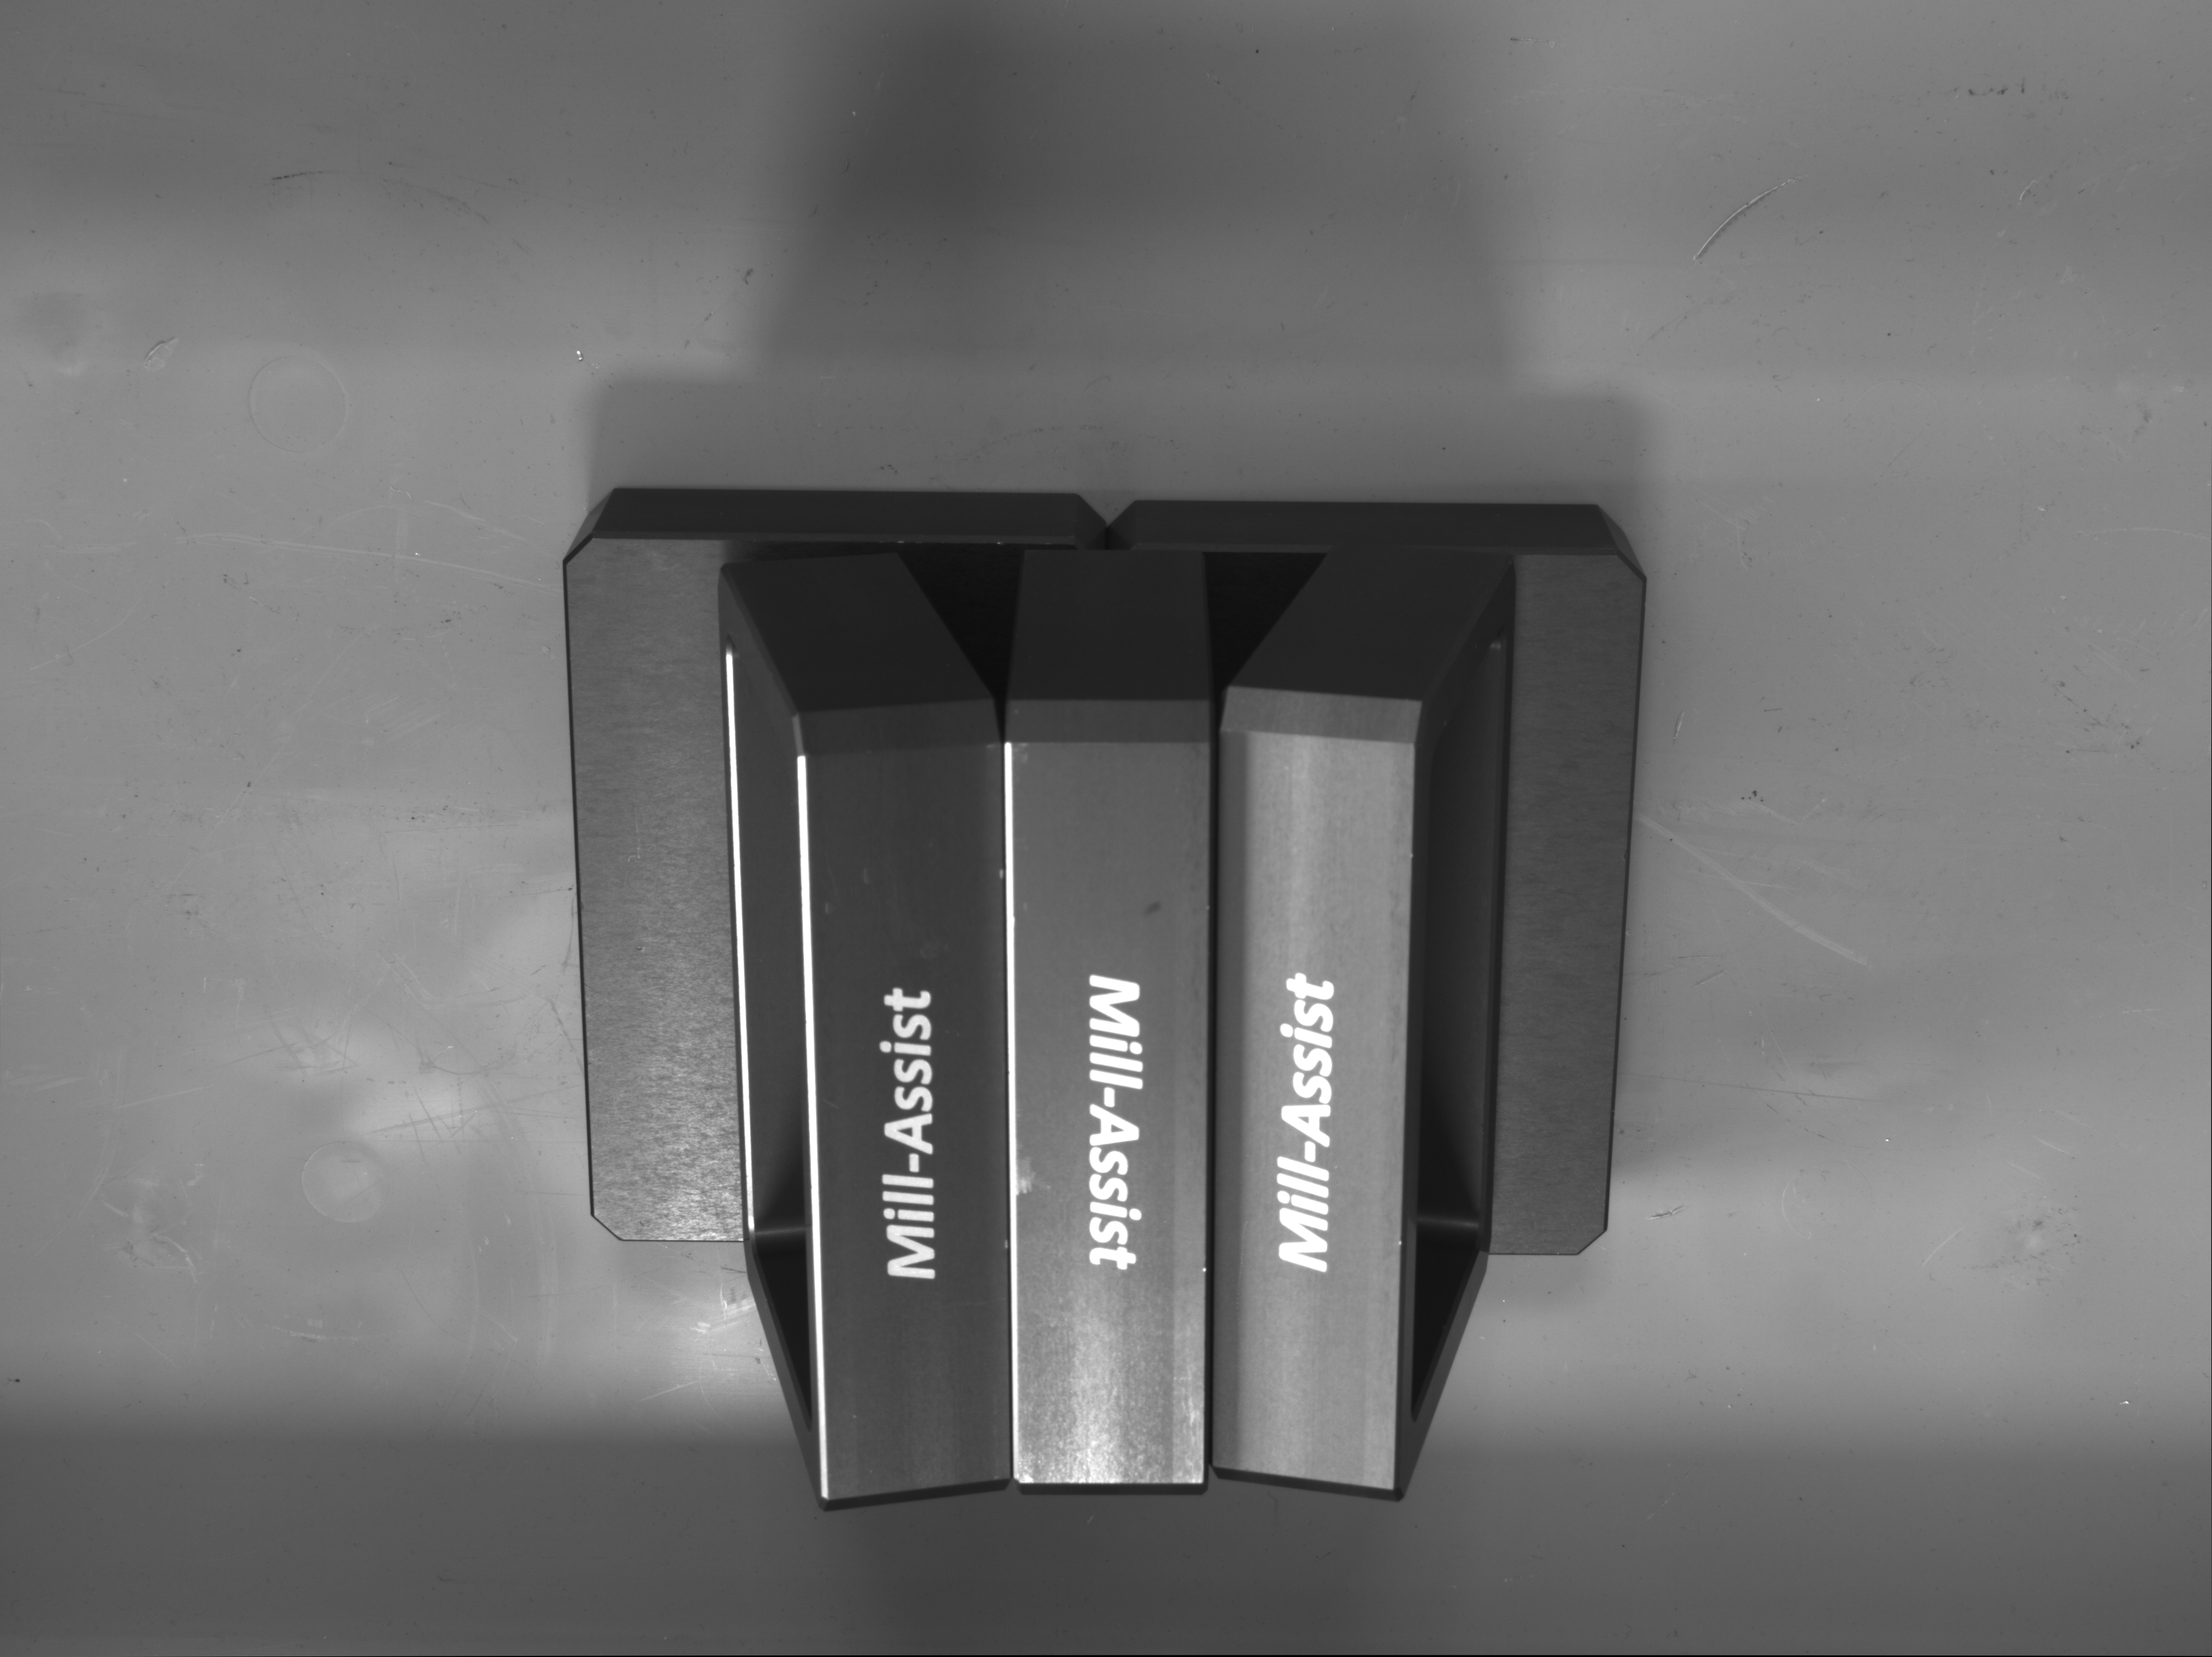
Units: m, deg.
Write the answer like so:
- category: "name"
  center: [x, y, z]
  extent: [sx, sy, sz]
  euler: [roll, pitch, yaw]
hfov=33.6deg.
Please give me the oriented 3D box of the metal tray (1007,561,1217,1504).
- category: "metal tray"
  center: [0.001, 0.030, 0.585]
  extent: [0.030, 0.090, 0.130]
  euler: [0, 108, 0]

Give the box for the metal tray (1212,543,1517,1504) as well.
- category: "metal tray"
  center: [0.042, 0.029, 0.584]
  extent: [0.030, 0.090, 0.130]
  euler: [5, 111, 14]

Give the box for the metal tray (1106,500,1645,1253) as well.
- category: "metal tray"
  center: [0.044, 0.009, 0.643]
  extent: [0.090, 0.030, 0.130]
  euler: [0, 110, 0]

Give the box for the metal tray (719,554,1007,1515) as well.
- category: "metal tray"
  center: [-0.039, 0.031, 0.584]
  extent: [0.030, 0.090, 0.130]
  euler: [-4, 110, -12]

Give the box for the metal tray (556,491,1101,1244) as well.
- category: "metal tray"
  center: [-0.046, 0.008, 0.641]
  extent: [0.090, 0.030, 0.130]
  euler: [0, 110, 0]
